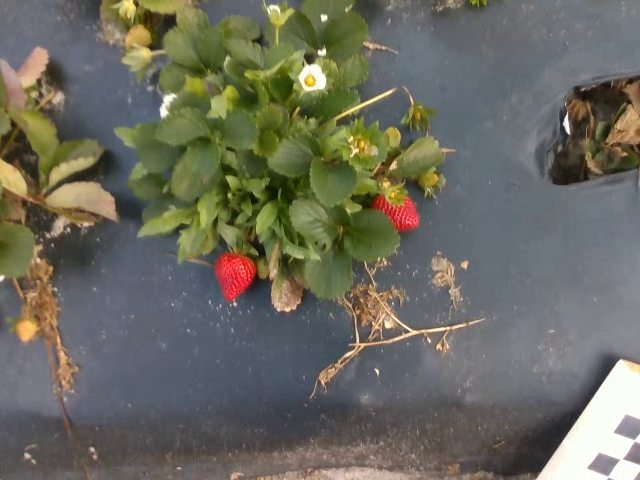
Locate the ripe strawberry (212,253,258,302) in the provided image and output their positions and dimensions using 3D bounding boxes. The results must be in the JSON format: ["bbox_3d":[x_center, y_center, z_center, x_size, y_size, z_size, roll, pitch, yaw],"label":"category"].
[{"bbox_3d":[-0.081,0.035,0.560,0.043,0.051,0.043,6,-8,2],"label":"ripe strawberry"}]

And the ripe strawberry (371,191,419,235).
[{"bbox_3d":[0.071,-0.023,0.549,0.046,0.043,0.046,29,20,26],"label":"ripe strawberry"}]
